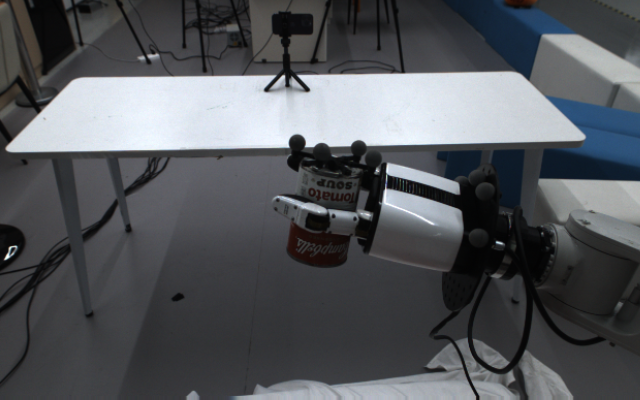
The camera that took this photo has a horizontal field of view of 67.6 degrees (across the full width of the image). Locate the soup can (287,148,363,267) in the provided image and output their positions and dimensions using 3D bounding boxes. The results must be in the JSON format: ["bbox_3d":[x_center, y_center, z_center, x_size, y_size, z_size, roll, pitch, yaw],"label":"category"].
[{"bbox_3d":[0.006,0.012,0.513,0.067,0.101,0.067,9,19,-3],"label":"soup can"}]
